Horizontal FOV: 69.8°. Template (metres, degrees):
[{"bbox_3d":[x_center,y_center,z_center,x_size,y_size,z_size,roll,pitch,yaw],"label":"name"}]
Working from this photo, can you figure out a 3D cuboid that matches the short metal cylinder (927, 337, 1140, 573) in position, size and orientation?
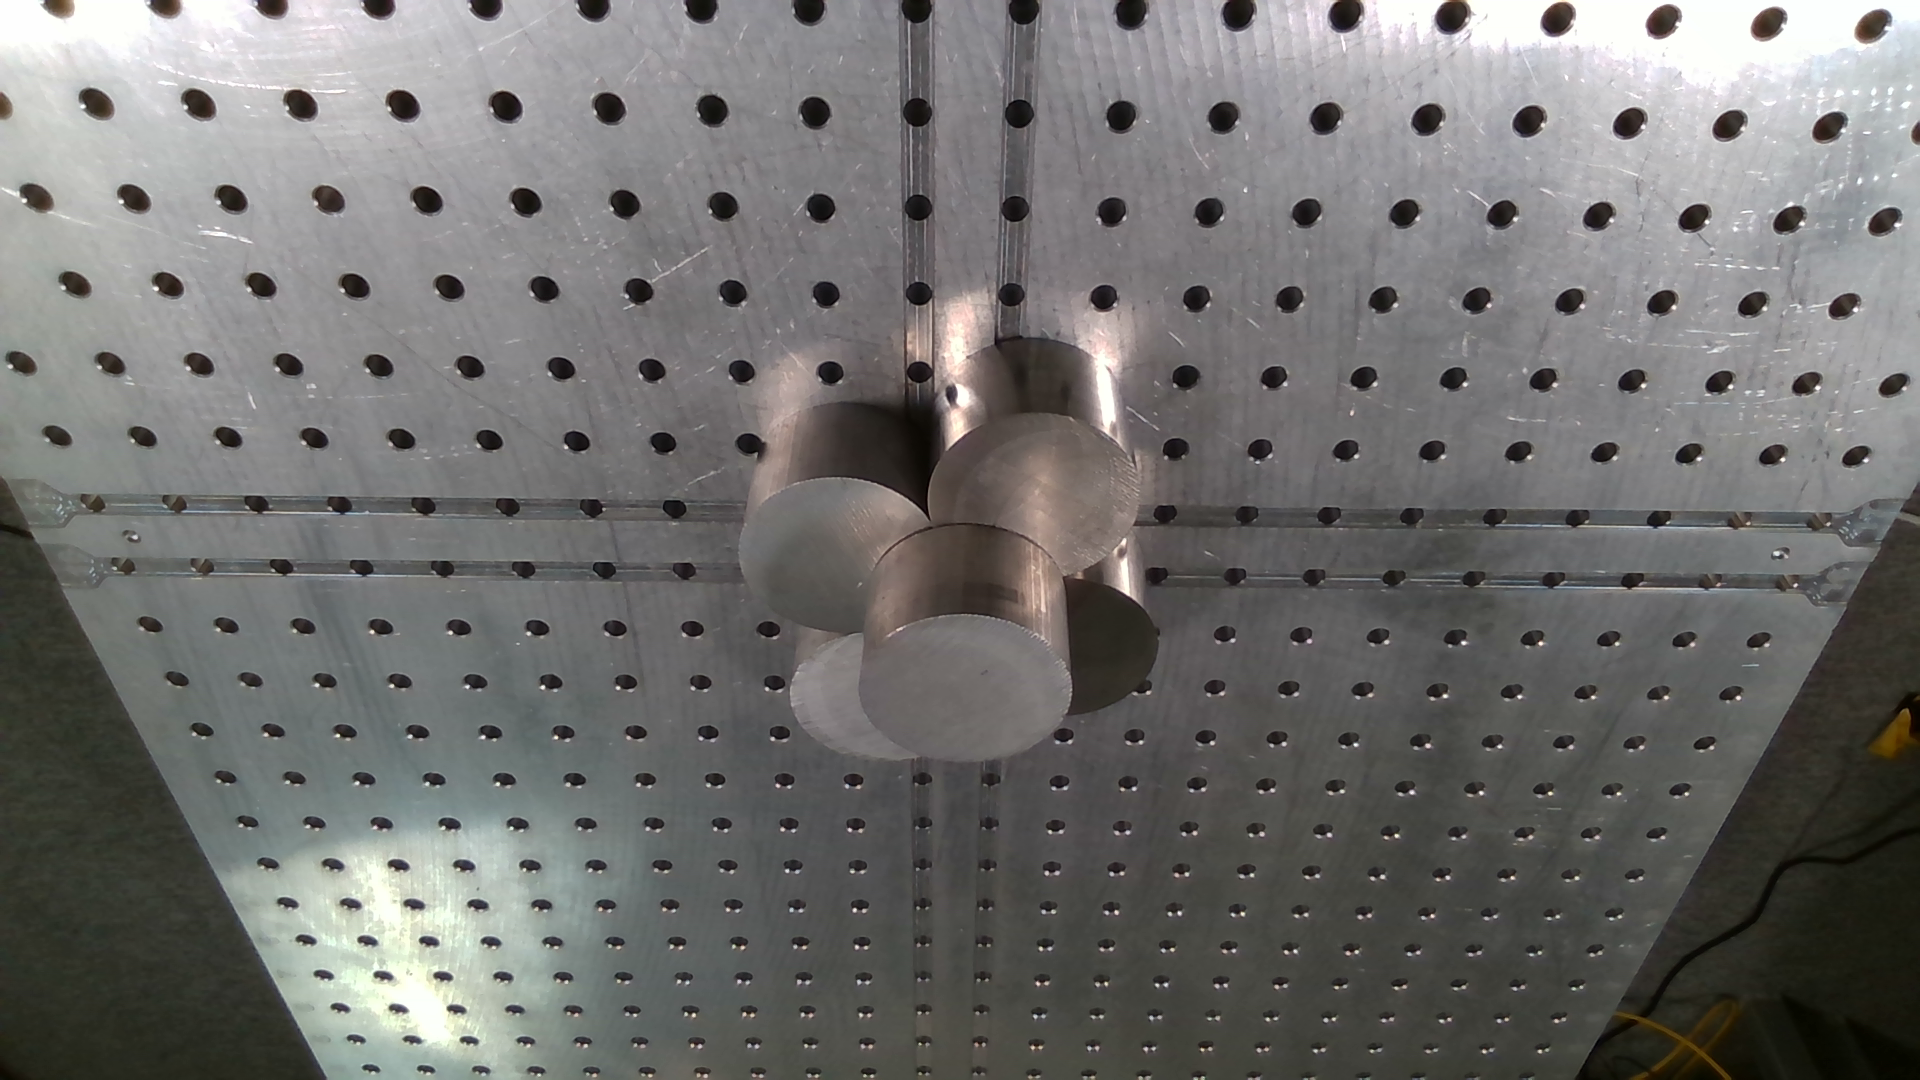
[{"bbox_3d":[0.028,-0.032,0.538,0.080,0.050,0.080,0,130,0],"label":"short metal cylinder"}]

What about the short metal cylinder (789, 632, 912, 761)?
[{"bbox_3d":[-0.033,0.052,0.609,0.080,0.050,0.080,0,130,0],"label":"short metal cylinder"}]

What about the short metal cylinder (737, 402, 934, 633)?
[{"bbox_3d":[-0.047,-0.009,0.558,0.080,0.050,0.080,0,130,0],"label":"short metal cylinder"}]

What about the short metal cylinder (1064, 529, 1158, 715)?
[{"bbox_3d":[0.042,0.030,0.590,0.080,0.050,0.080,0,130,0],"label":"short metal cylinder"}]

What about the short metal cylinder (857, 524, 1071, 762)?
[{"bbox_3d":[0.002,0.040,0.532,0.080,0.050,0.080,1,131,1],"label":"short metal cylinder"}]
